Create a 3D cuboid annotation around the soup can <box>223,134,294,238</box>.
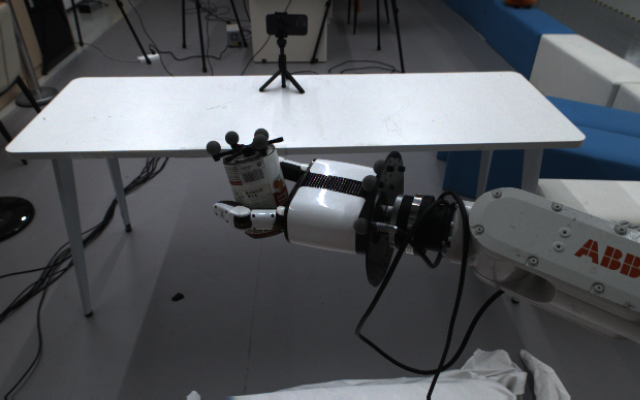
[{"bbox_3d":[-0.073,-0.011,0.603,0.067,0.101,0.067,-13,20,5],"label":"soup can"}]
